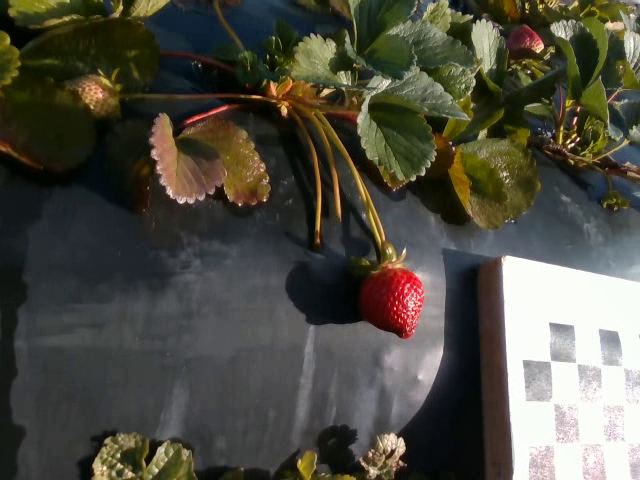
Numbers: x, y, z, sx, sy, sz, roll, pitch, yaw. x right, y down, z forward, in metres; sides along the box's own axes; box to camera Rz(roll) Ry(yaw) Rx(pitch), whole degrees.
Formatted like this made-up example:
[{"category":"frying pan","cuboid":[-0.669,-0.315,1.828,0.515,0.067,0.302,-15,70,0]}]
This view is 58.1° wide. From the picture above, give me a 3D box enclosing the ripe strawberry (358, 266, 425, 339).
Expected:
[{"category":"ripe strawberry","cuboid":[0.038,0.034,0.286,0.040,0.044,0.036,-12,-18,-31]}]
